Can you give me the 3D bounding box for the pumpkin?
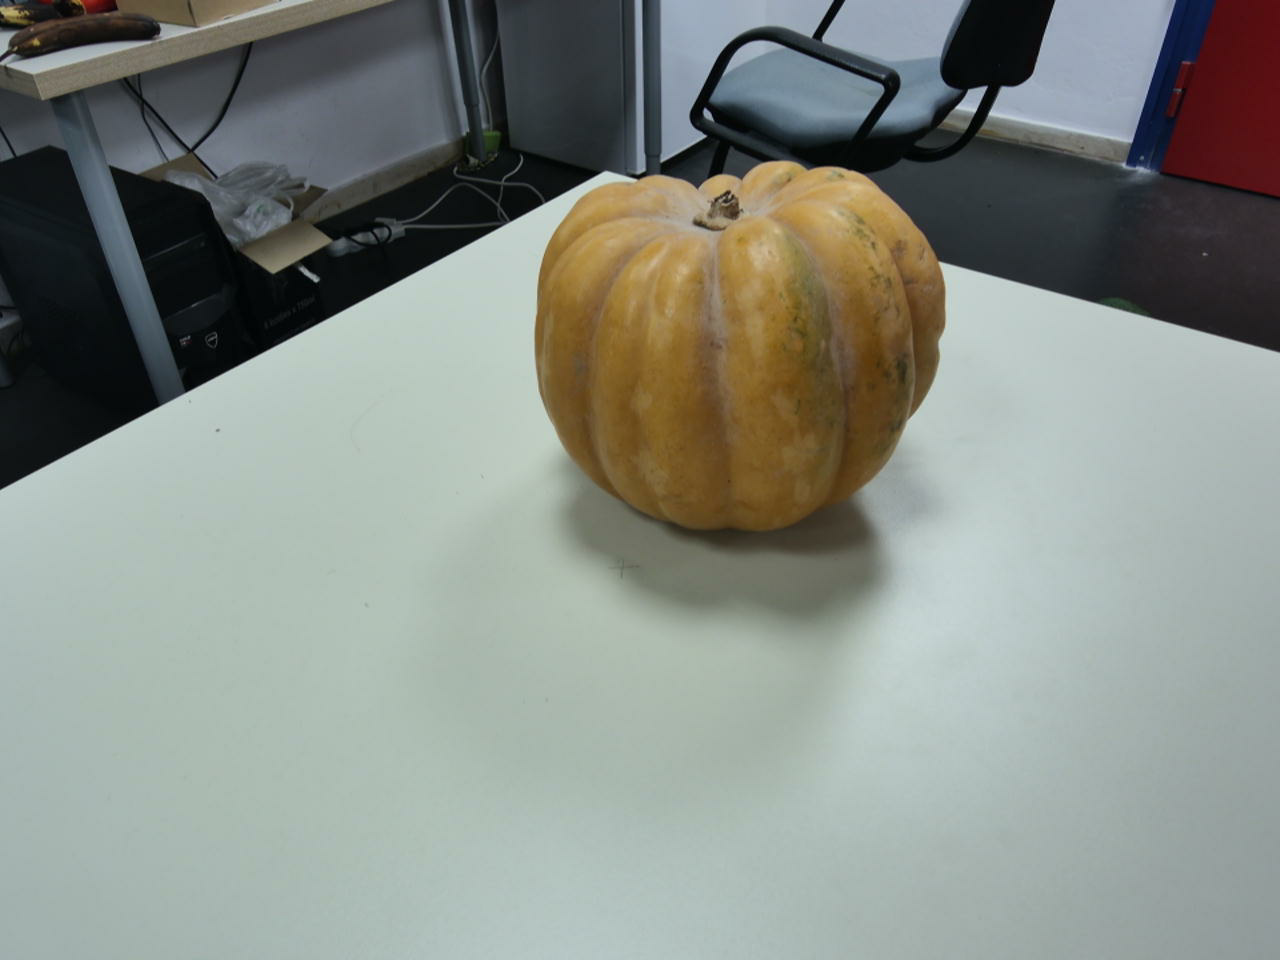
[{"bbox_3d":[0.052,-0.075,0.563,0.230,0.194,0.230,0,38,0],"label":"pumpkin"}]
